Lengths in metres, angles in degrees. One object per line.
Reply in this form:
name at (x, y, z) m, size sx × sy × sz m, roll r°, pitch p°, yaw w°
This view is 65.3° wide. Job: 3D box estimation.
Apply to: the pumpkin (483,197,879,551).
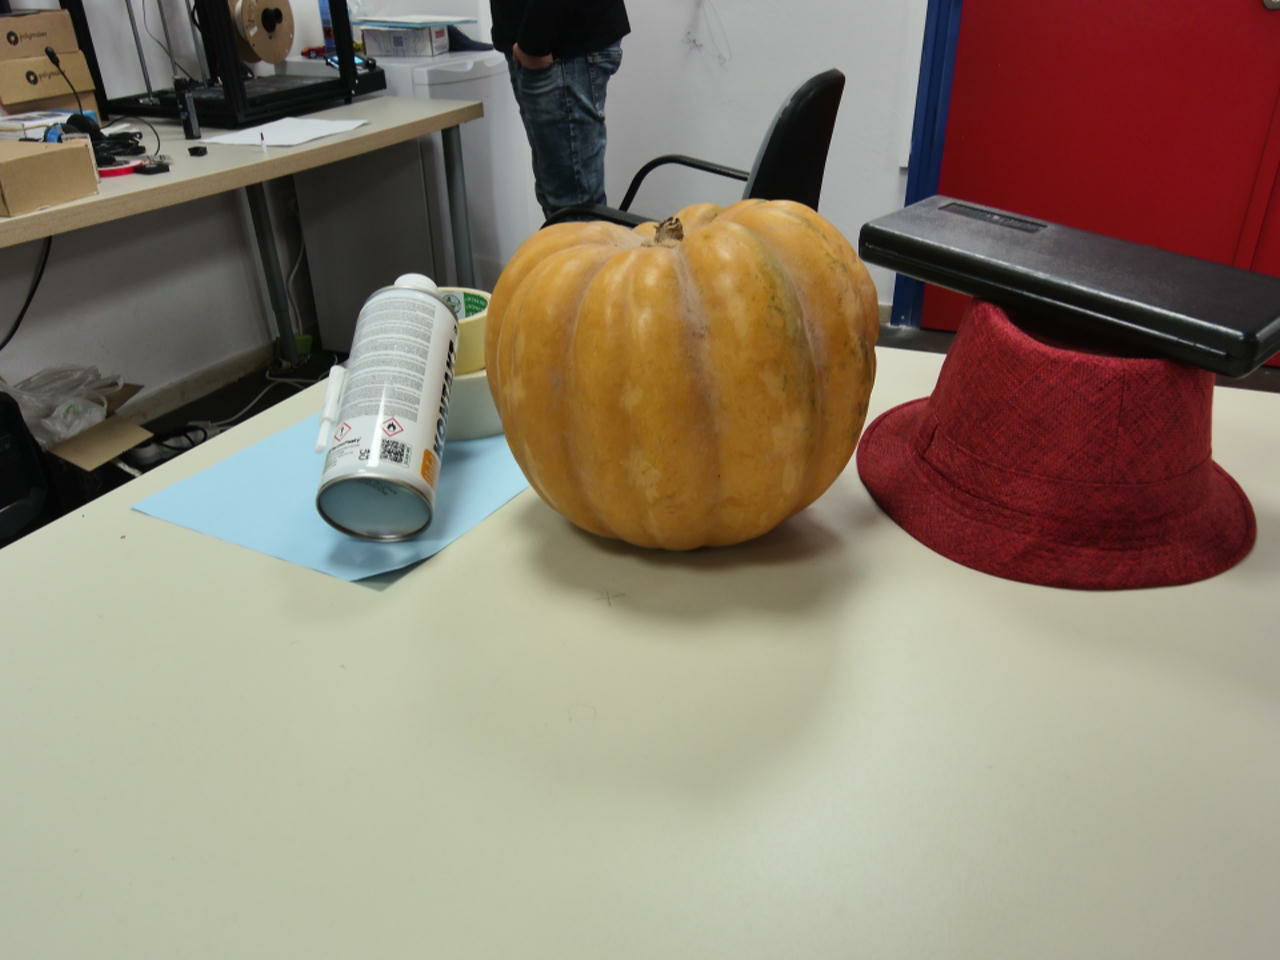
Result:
pumpkin at (0.026, -0.063, 0.581) m, size 0.230 × 0.194 × 0.230 m, roll 0°, pitch 26°, yaw 0°
